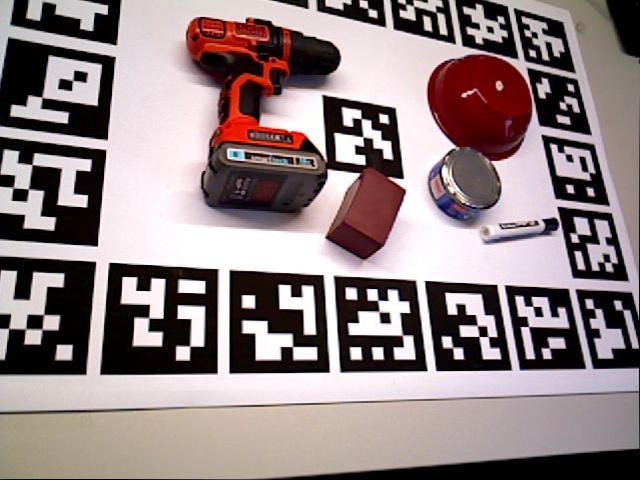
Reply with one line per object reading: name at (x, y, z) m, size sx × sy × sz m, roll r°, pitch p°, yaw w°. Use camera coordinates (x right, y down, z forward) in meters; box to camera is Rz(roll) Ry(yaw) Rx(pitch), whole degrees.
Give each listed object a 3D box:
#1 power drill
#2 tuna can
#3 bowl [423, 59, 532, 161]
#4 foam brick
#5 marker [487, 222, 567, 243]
power drill at (-0.057, -0.140, 0.578) m, size 0.182 × 0.058 × 0.185 m, roll 5°, pitch 67°, yaw -25°
tuna can at (0.182, -0.068, 0.659) m, size 0.085 × 0.034 × 0.085 m, roll 9°, pitch 68°, yaw -22°
bowl at (0.221, -0.185, 0.718) m, size 0.160 × 0.056 × 0.159 m, roll 8°, pitch 61°, yaw -16°
foam brick at (0.054, -0.023, 0.587) m, size 0.051 × 0.054 × 0.077 m, roll 28°, pitch 64°, yaw -12°
marker at (0.262, -0.010, 0.678) m, size 0.119 × 0.020 × 0.019 m, roll -5°, pitch 74°, yaw -24°
